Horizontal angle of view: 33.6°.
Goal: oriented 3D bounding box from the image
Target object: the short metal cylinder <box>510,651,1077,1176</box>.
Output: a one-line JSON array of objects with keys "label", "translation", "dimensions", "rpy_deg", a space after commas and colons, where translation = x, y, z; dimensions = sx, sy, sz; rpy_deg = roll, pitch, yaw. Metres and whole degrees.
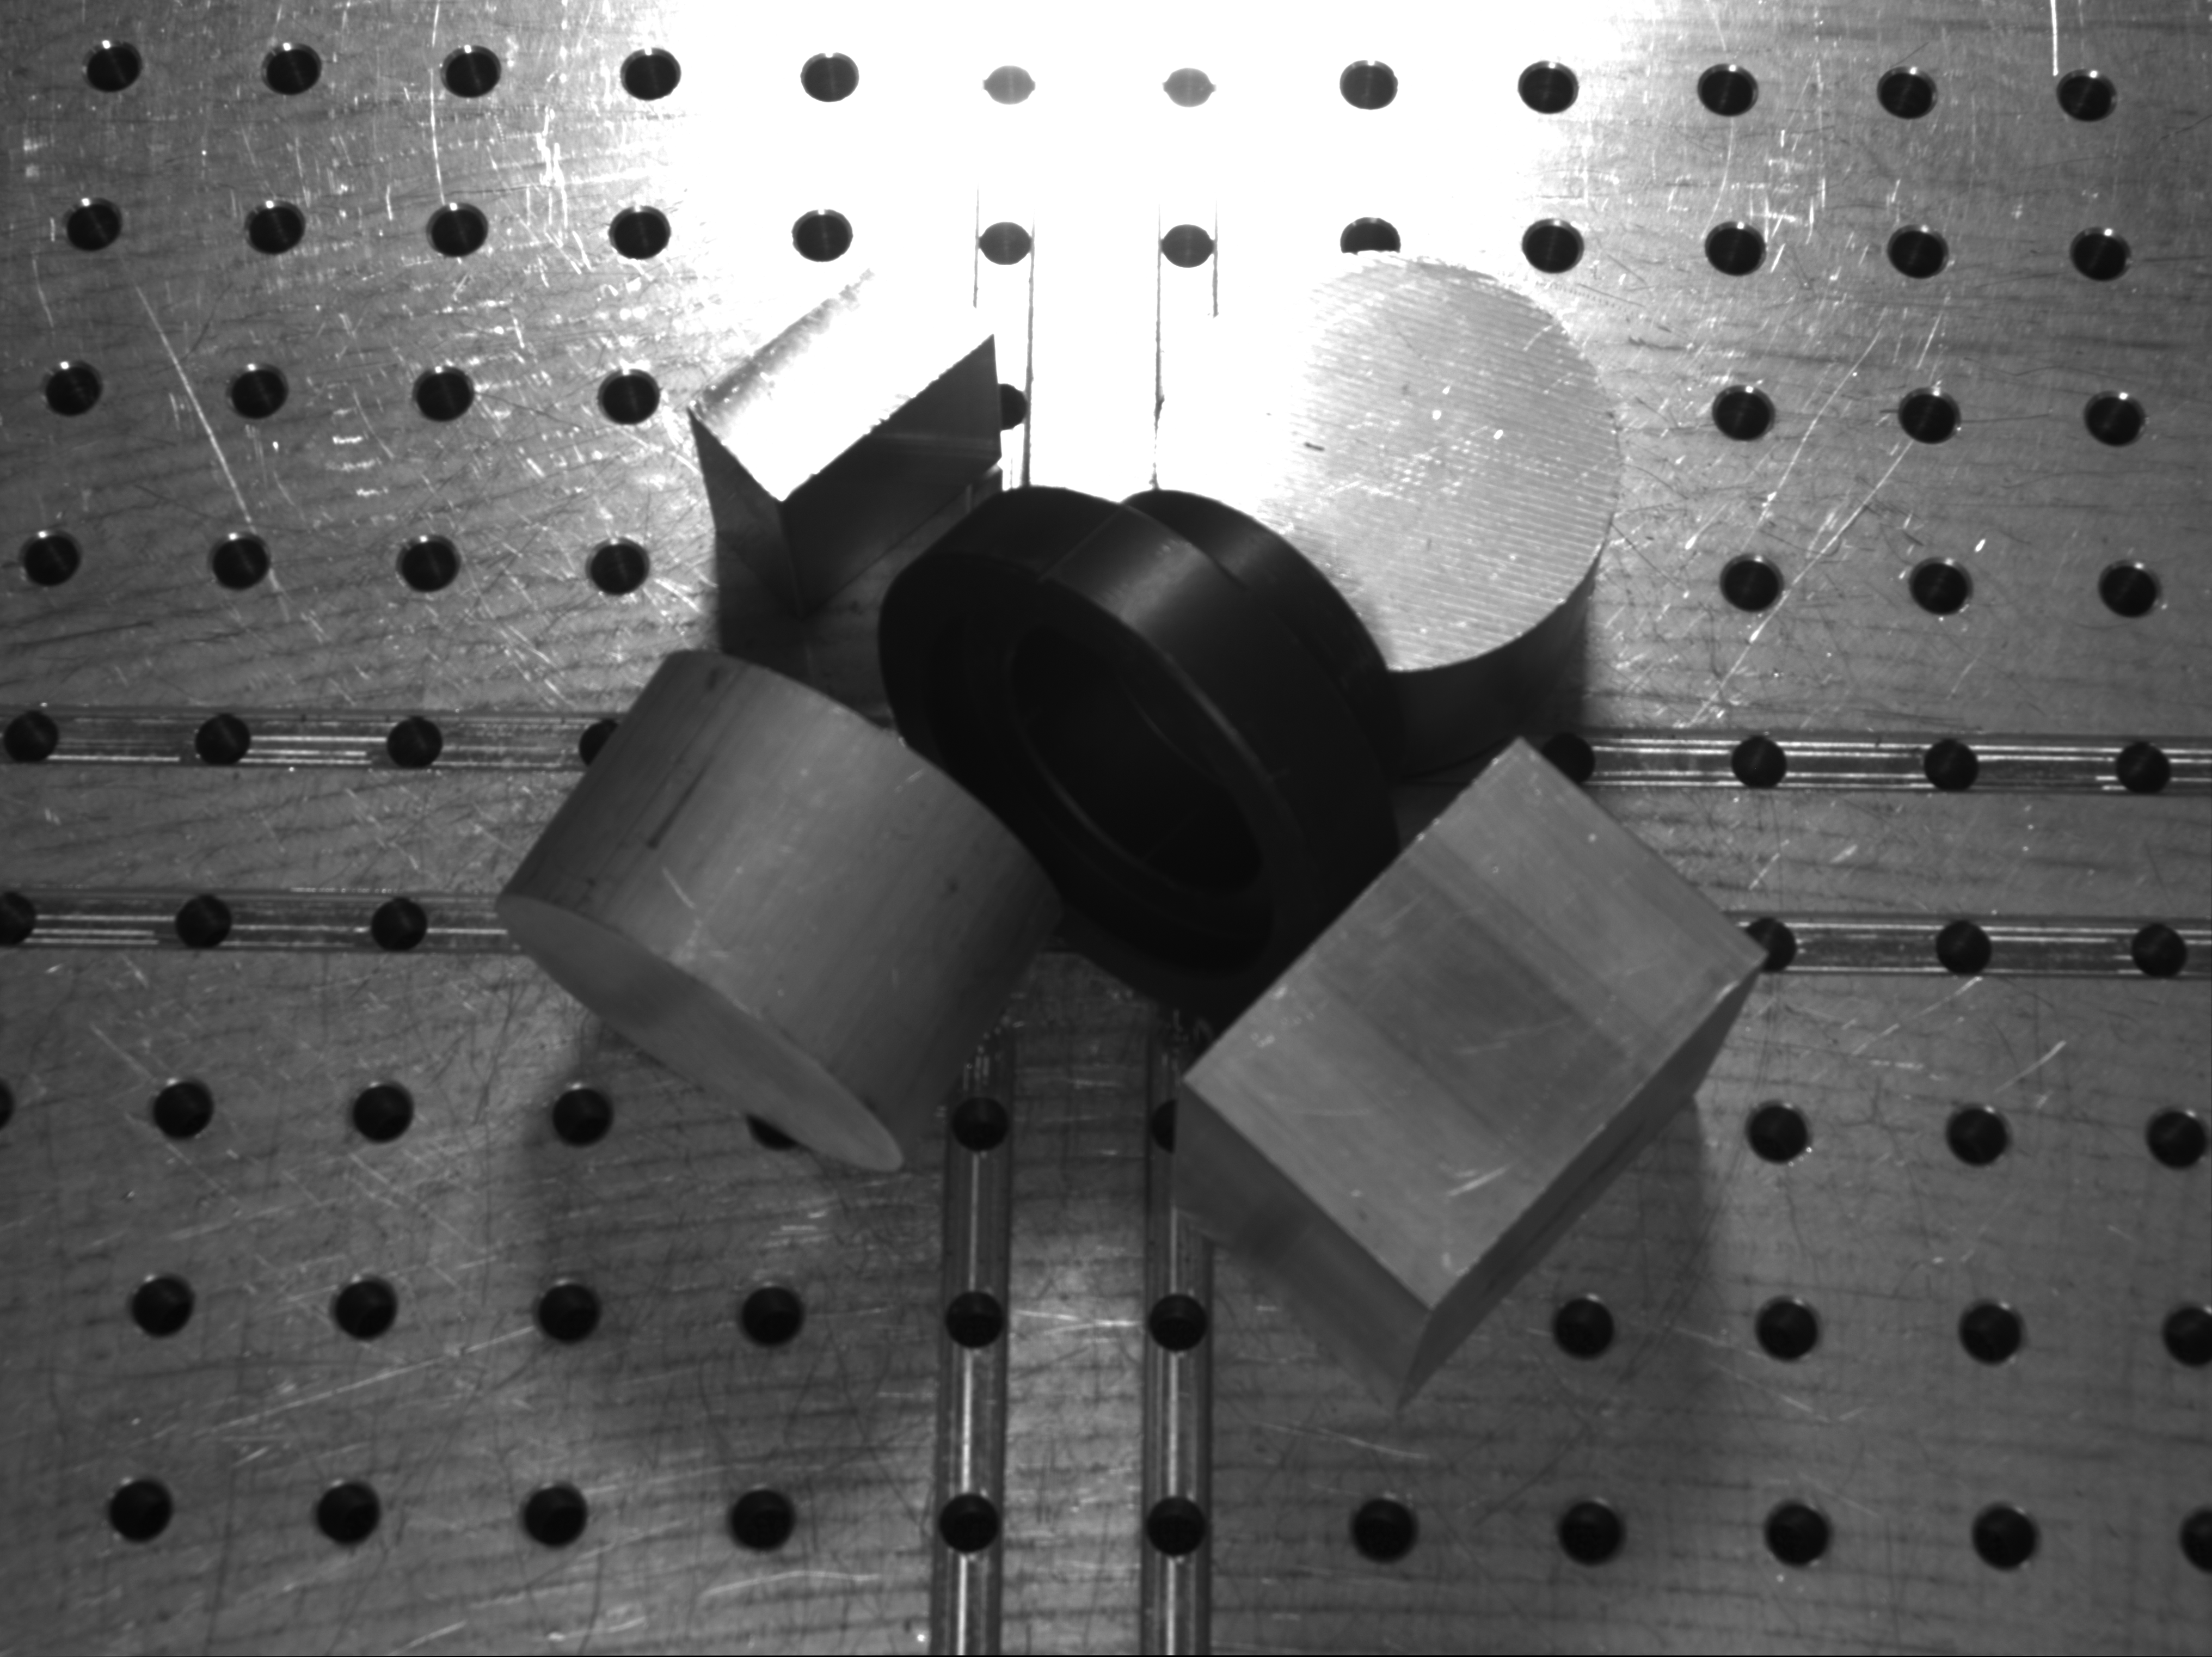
[{"label": "short metal cylinder", "translation": [-0.052, 0.015, 0.612], "dimensions": [0.080, 0.080, 0.050], "rpy_deg": [30, 73, 10]}]

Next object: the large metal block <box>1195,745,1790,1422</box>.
[{"label": "large metal block", "translation": [0.061, 0.044, 0.602], "dimensions": [0.050, 0.080, 0.080], "rpy_deg": [41, 75, 14]}]

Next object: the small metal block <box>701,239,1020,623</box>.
[{"label": "small metal block", "translation": [-0.043, -0.071, 0.660], "dimensions": [0.050, 0.050, 0.025], "rpy_deg": [-40, 75, -13]}]

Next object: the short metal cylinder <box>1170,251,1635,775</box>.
[{"label": "short metal cylinder", "translation": [0.051, -0.055, 0.654], "dimensions": [0.080, 0.050, 0.080], "rpy_deg": [0, 70, 0]}]

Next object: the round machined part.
[{"label": "round machined part", "translation": [0.014, -0.018, 0.615], "dimensions": [0.098, 0.098, 0.042], "rpy_deg": [39, 62, 13]}]
